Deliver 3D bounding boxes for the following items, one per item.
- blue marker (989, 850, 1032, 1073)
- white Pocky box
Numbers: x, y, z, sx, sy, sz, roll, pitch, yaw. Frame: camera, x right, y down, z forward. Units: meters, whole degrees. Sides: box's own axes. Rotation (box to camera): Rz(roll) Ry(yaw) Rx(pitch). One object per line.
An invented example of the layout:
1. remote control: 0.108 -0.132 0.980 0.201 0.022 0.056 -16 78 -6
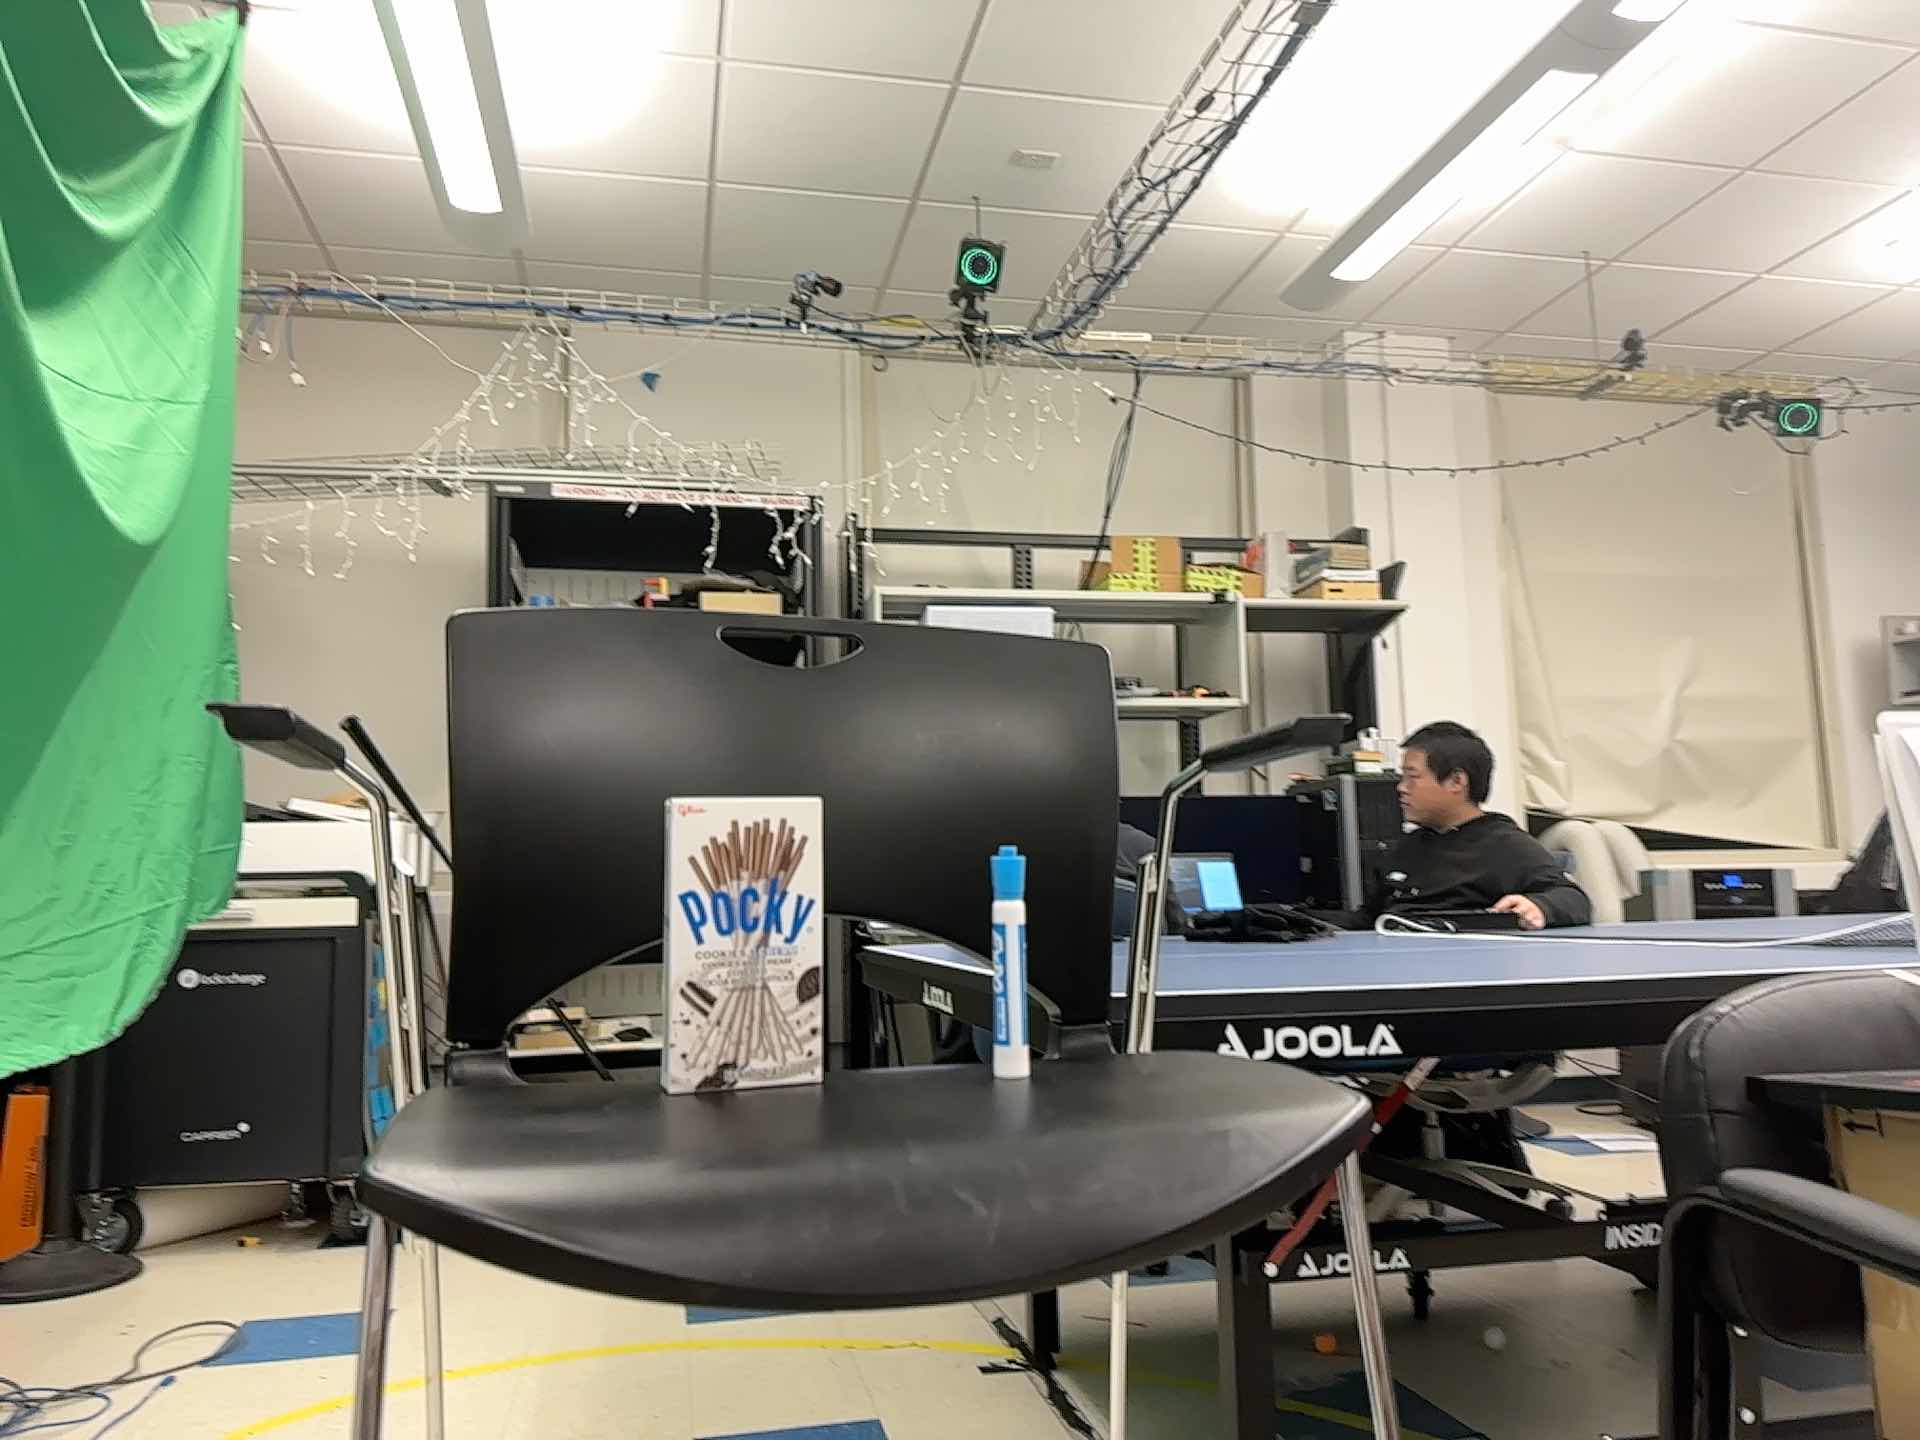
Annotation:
1. blue marker: 0.028 0.133 0.747 0.020 0.121 0.020 -2 -3 0
2. white Pocky box: -0.117 0.120 0.731 0.084 0.154 0.028 1 -4 -17
